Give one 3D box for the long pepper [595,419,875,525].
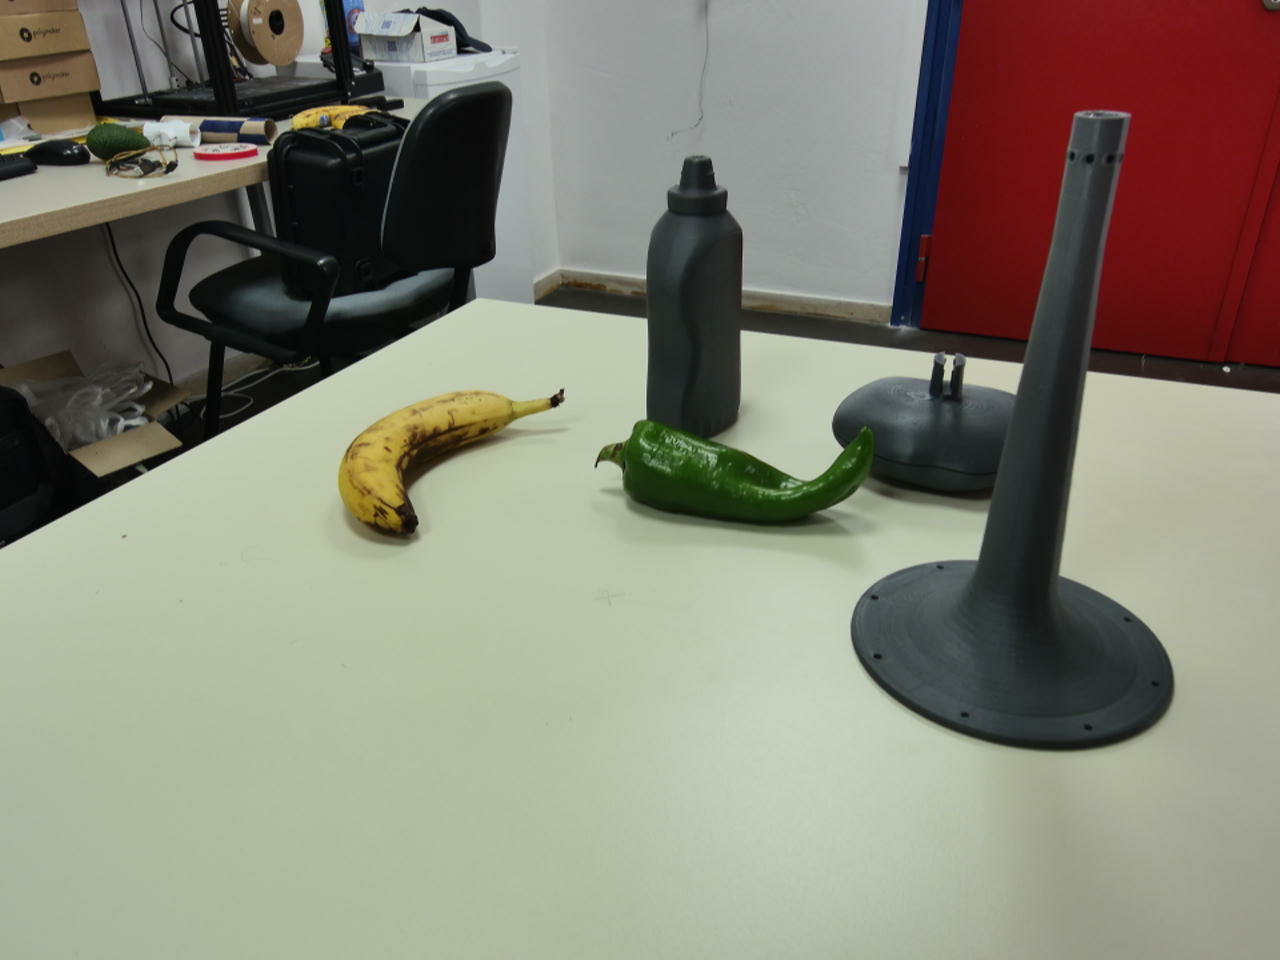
[{"bbox_3d":[0.053,-0.010,0.617,0.175,0.065,0.058,10,28,20],"label":"long pepper"}]
